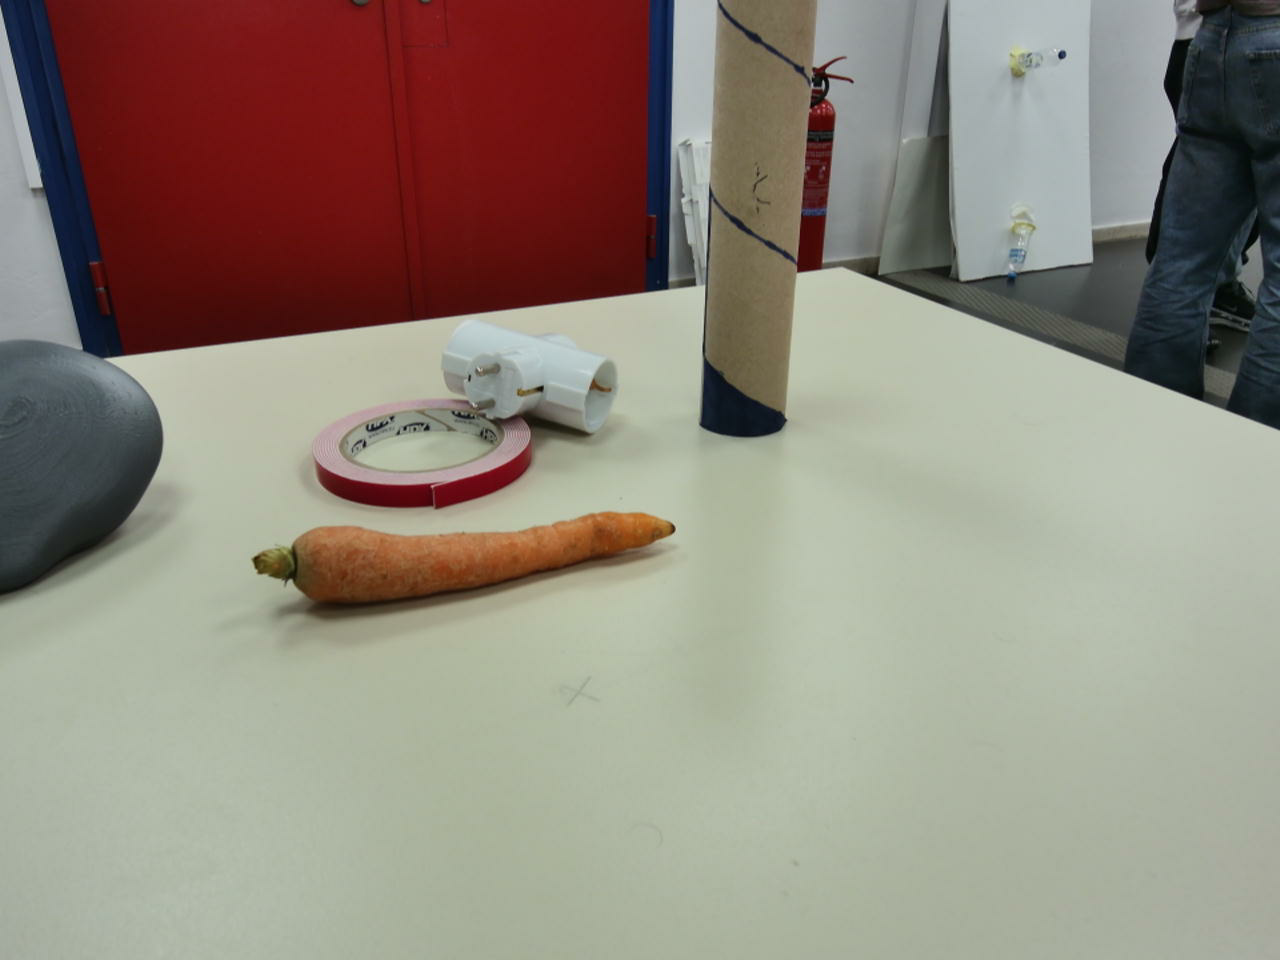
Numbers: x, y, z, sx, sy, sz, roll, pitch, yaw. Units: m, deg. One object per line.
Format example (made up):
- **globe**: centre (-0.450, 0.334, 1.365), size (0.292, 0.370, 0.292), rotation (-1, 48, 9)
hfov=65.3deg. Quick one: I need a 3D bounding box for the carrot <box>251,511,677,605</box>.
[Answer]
- **carrot**: centre (-0.064, 0.027, 0.405), size (0.173, 0.032, 0.030), rotation (-7, 25, -16)
